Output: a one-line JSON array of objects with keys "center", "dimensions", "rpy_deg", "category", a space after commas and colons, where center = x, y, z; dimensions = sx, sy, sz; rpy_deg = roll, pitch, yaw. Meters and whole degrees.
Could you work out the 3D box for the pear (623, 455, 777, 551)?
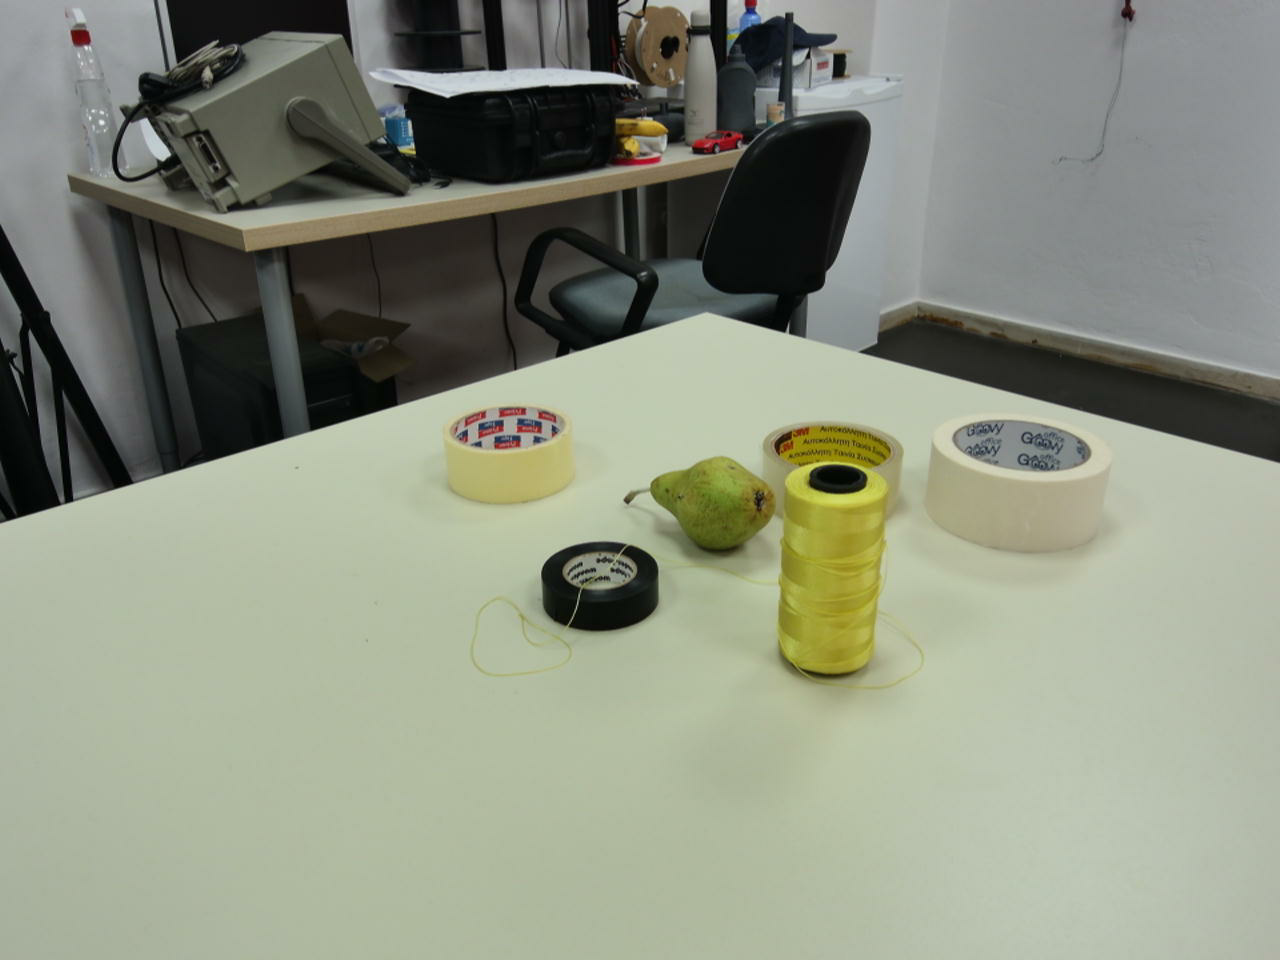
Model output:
[{"center": [0.041, 0.008, 0.629], "dimensions": [0.056, 0.056, 0.111], "rpy_deg": [-11, 27, -24], "category": "pear"}]
